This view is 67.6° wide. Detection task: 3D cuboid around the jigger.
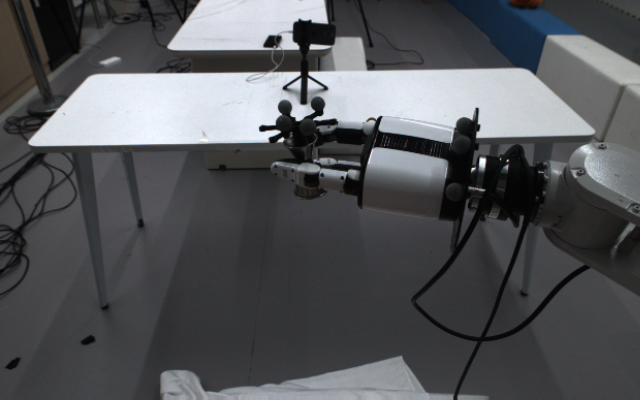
[{"bbox_3d":[-0.015,-0.042,0.572,0.043,0.071,0.043,-9,31,5],"label":"jigger"}]
